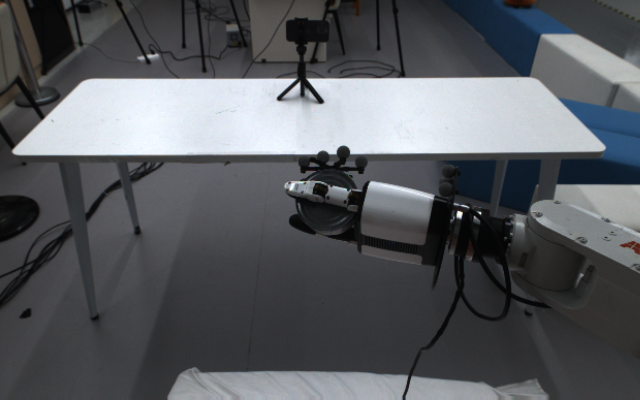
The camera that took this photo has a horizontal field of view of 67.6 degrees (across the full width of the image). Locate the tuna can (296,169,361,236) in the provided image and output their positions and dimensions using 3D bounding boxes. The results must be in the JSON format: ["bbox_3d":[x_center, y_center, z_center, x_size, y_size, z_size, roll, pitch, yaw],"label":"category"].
[{"bbox_3d":[0.013,0.003,0.650,0.085,0.034,0.085,-3,73,10],"label":"tuna can"}]
